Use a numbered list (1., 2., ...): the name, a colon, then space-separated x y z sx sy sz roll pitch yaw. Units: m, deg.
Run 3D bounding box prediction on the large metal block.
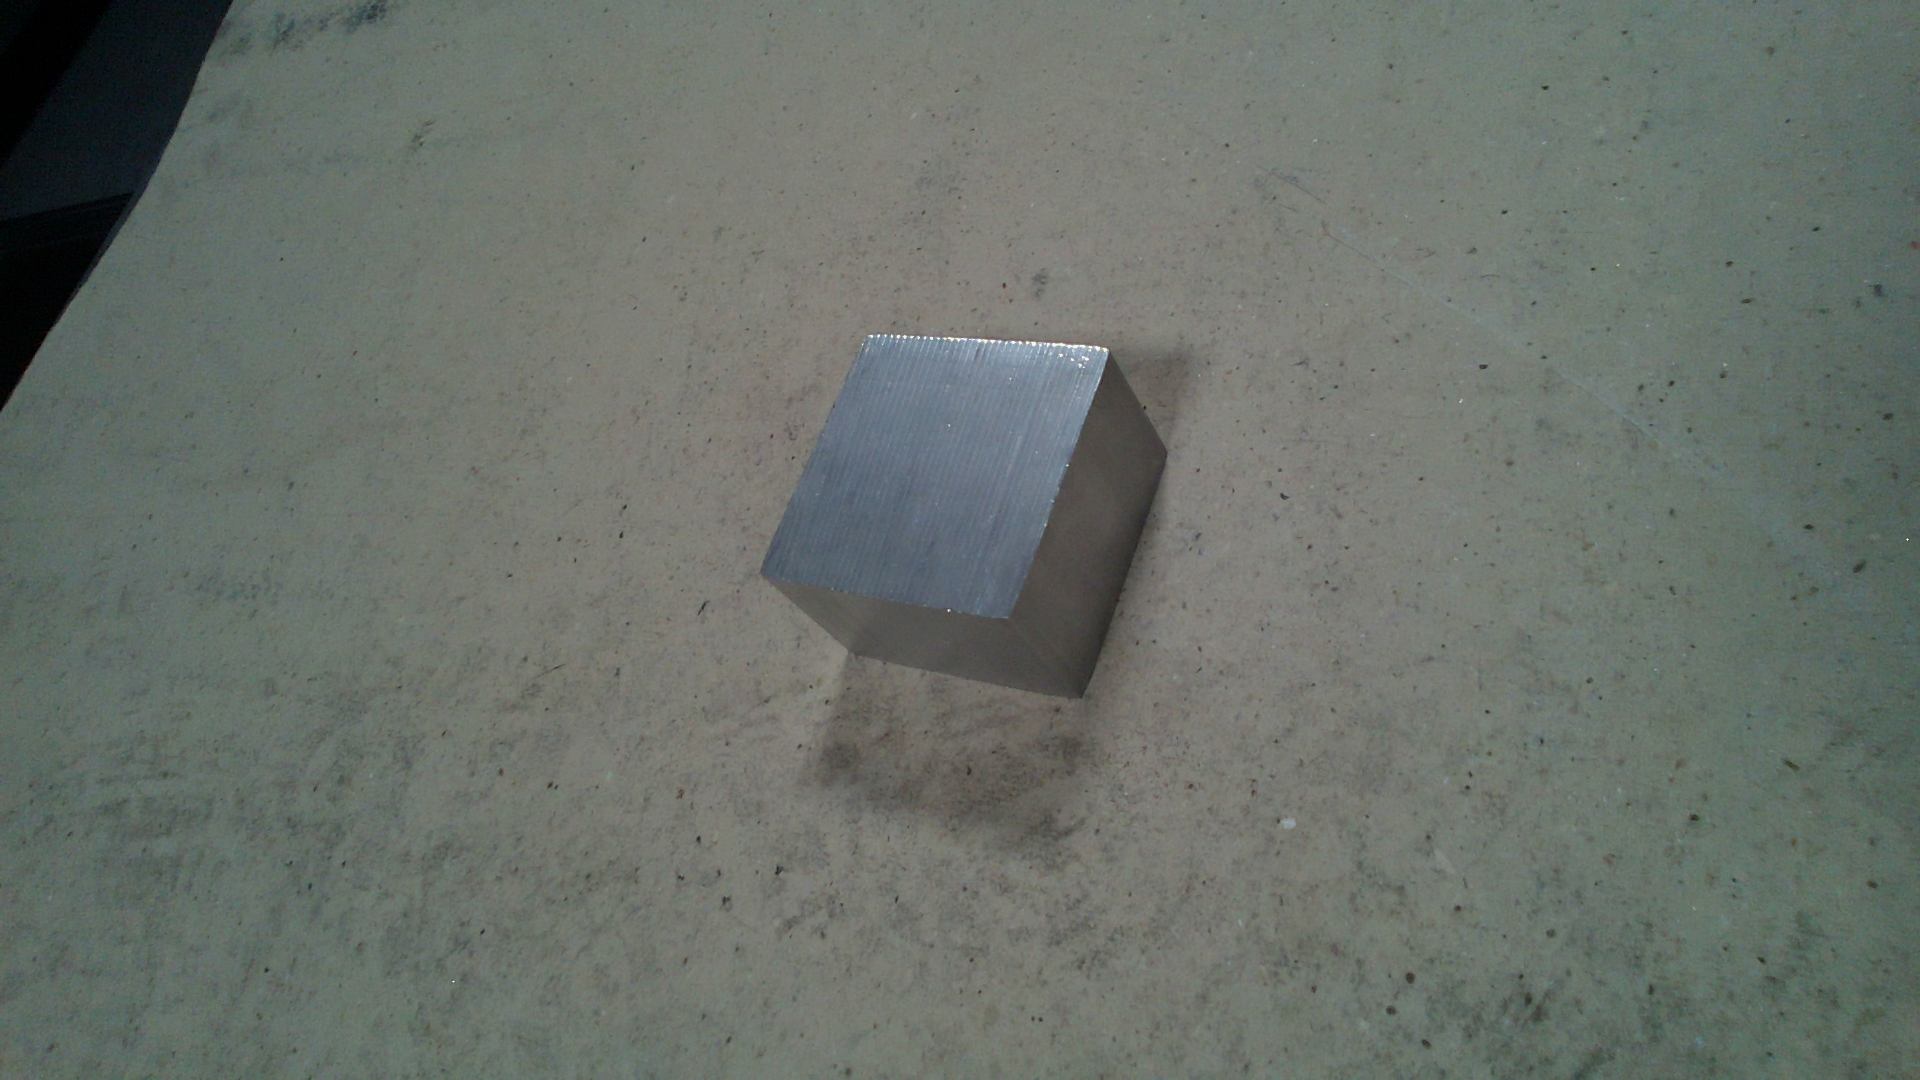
1. large metal block: 0.003 -0.009 0.382 0.080 0.050 0.080 8 66 32
